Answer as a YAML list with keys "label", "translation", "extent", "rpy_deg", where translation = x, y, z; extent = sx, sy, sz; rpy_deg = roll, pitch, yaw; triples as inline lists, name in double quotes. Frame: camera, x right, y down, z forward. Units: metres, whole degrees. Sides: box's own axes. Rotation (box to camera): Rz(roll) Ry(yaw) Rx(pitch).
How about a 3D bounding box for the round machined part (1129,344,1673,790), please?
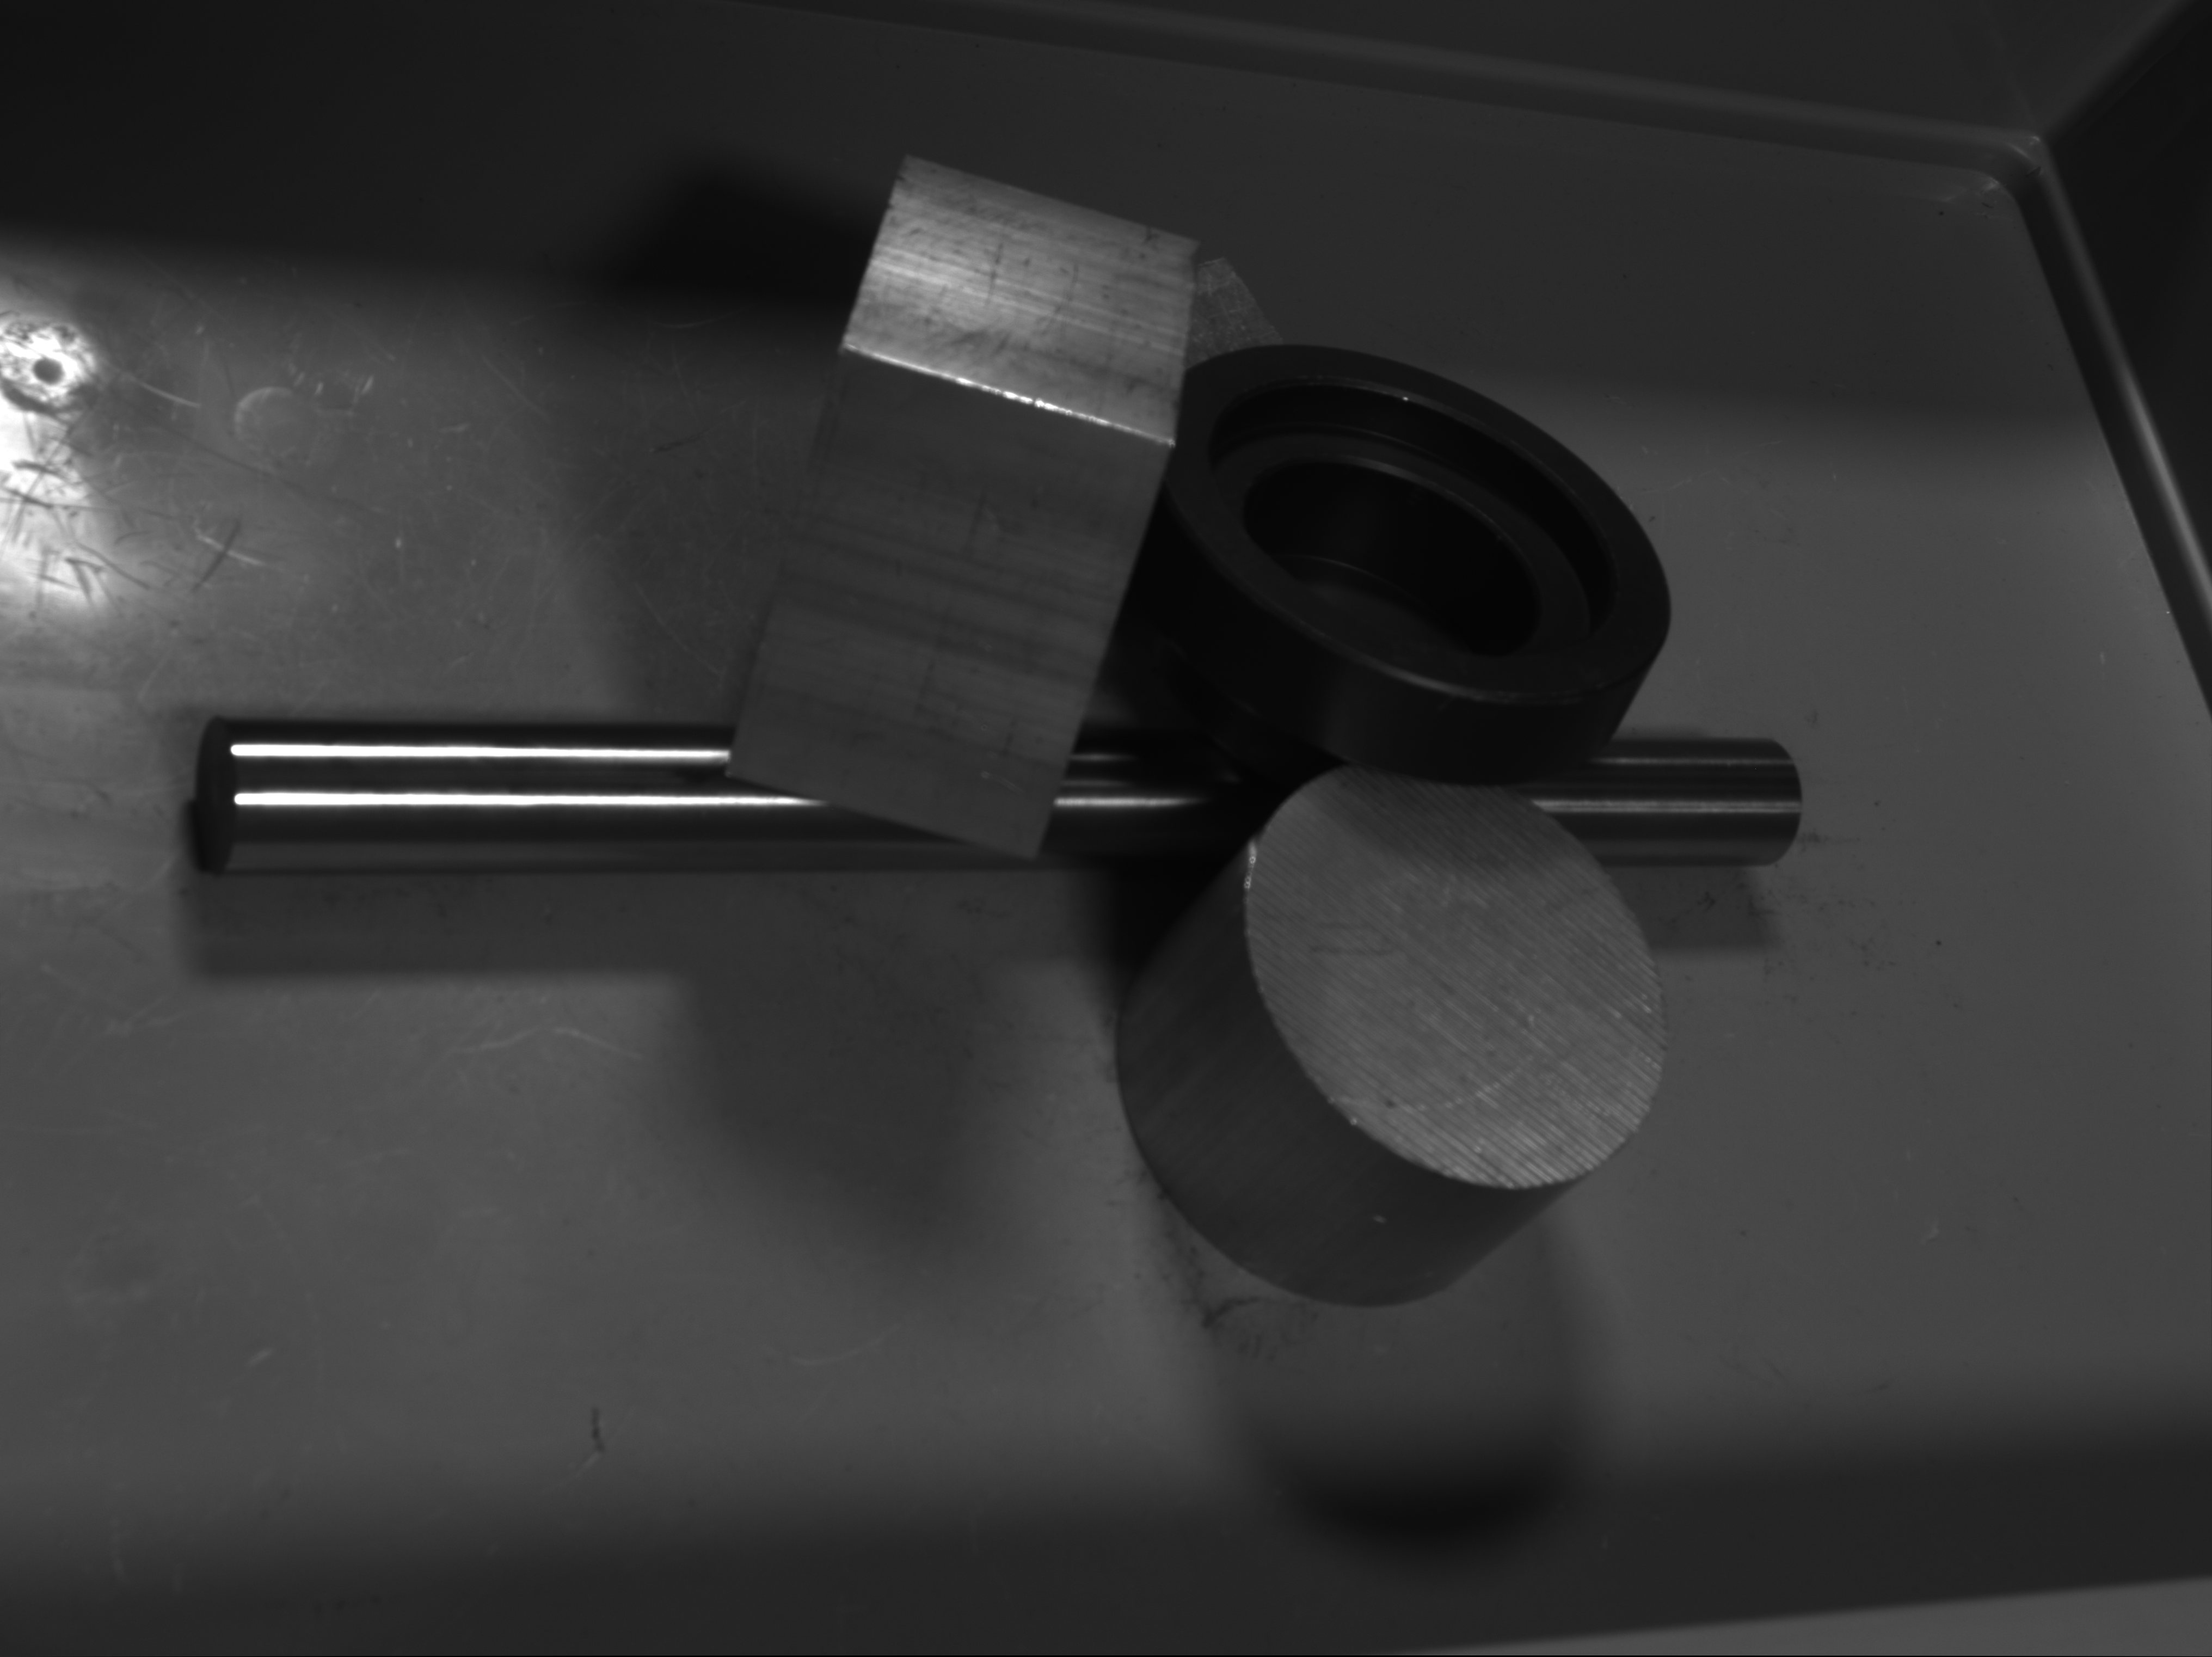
- label: "round machined part"
  translation: [0.048, -0.040, 0.653]
  extent: [0.098, 0.042, 0.098]
  rpy_deg: [15, 39, -12]

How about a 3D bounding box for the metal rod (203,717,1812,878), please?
- label: "metal rod"
  translation: [-0.004, -0.005, 0.637]
  extent: [0.301, 0.025, 0.025]
  rpy_deg: [0, 62, -28]

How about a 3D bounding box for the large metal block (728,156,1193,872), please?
- label: "large metal block"
  translation: [-0.023, -0.053, 0.604]
  extent: [0.050, 0.080, 0.080]
  rpy_deg: [16, 32, -6]

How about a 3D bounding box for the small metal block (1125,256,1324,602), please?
- label: "small metal block"
  translation: [0.012, -0.076, 0.692]
  extent: [0.050, 0.025, 0.050]
  rpy_deg: [-23, 74, -36]

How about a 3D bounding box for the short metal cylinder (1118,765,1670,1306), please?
- label: "short metal cylinder"
  translation: [0.049, 0.035, 0.626]
  extent: [0.080, 0.050, 0.080]
  rpy_deg: [14, 56, -21]
